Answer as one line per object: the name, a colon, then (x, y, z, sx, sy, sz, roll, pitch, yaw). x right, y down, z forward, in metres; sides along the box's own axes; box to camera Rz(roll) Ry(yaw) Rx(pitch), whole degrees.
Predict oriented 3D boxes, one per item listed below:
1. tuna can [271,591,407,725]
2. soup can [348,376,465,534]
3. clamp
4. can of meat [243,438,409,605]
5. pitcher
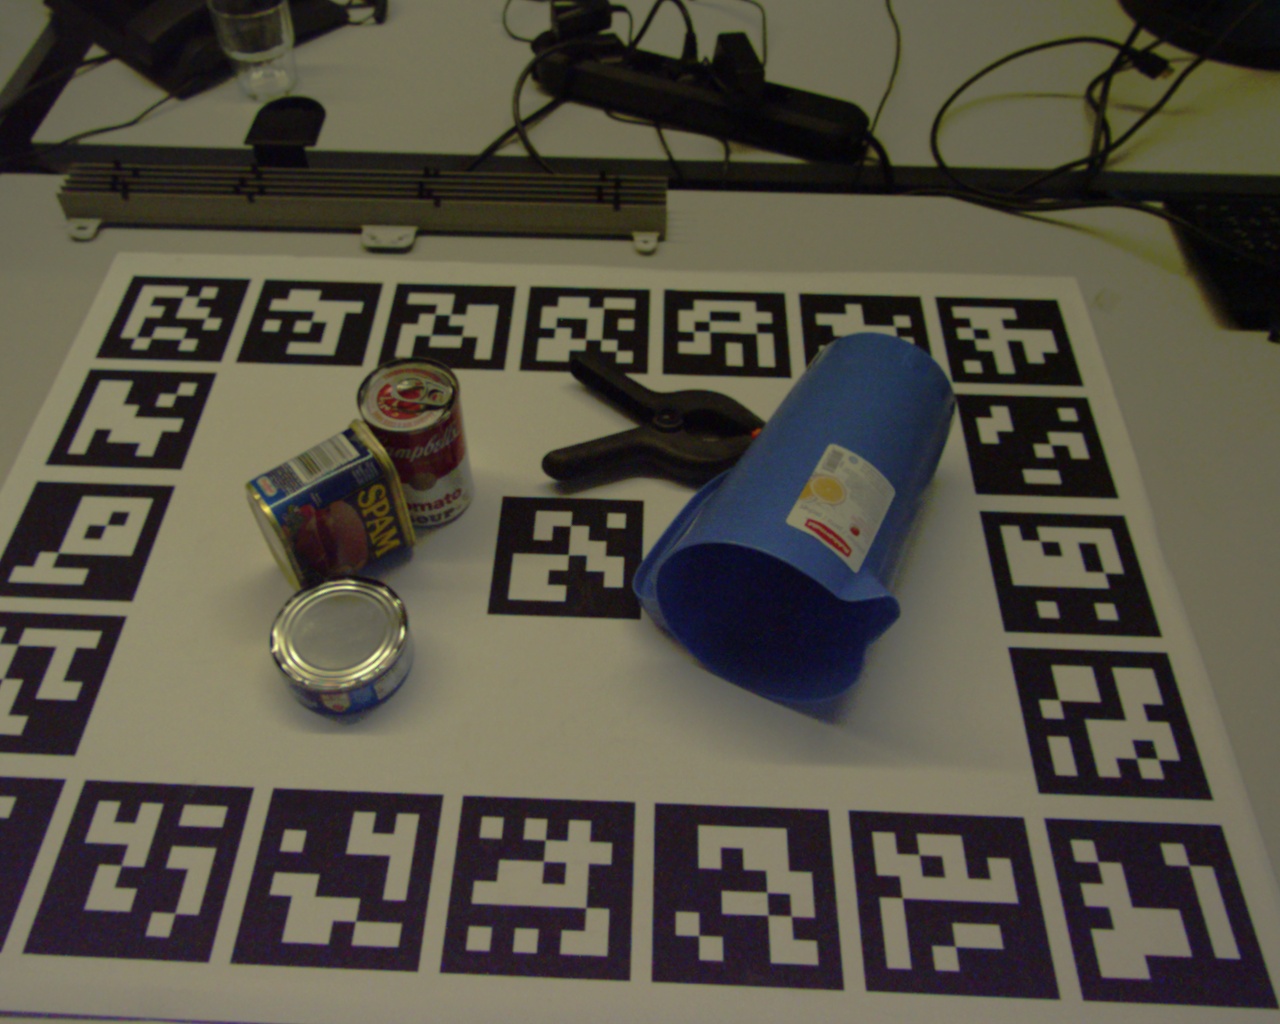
tuna can: (-0.200, 0.098, 0.761, 0.086, 0.033, 0.086, -1, 54, 0)
soup can: (-0.167, -0.040, 0.827, 0.068, 0.101, 0.068, -2, 54, 1)
clamp: (-0.009, -0.056, 0.891, 0.165, 0.036, 0.122, 5, 48, 0)
can of meat: (-0.215, 0.011, 0.783, 0.083, 0.101, 0.058, -30, 59, -17)
pitcher: (0.101, -0.002, 0.772, 0.191, 0.132, 0.241, 4, 41, 31)
